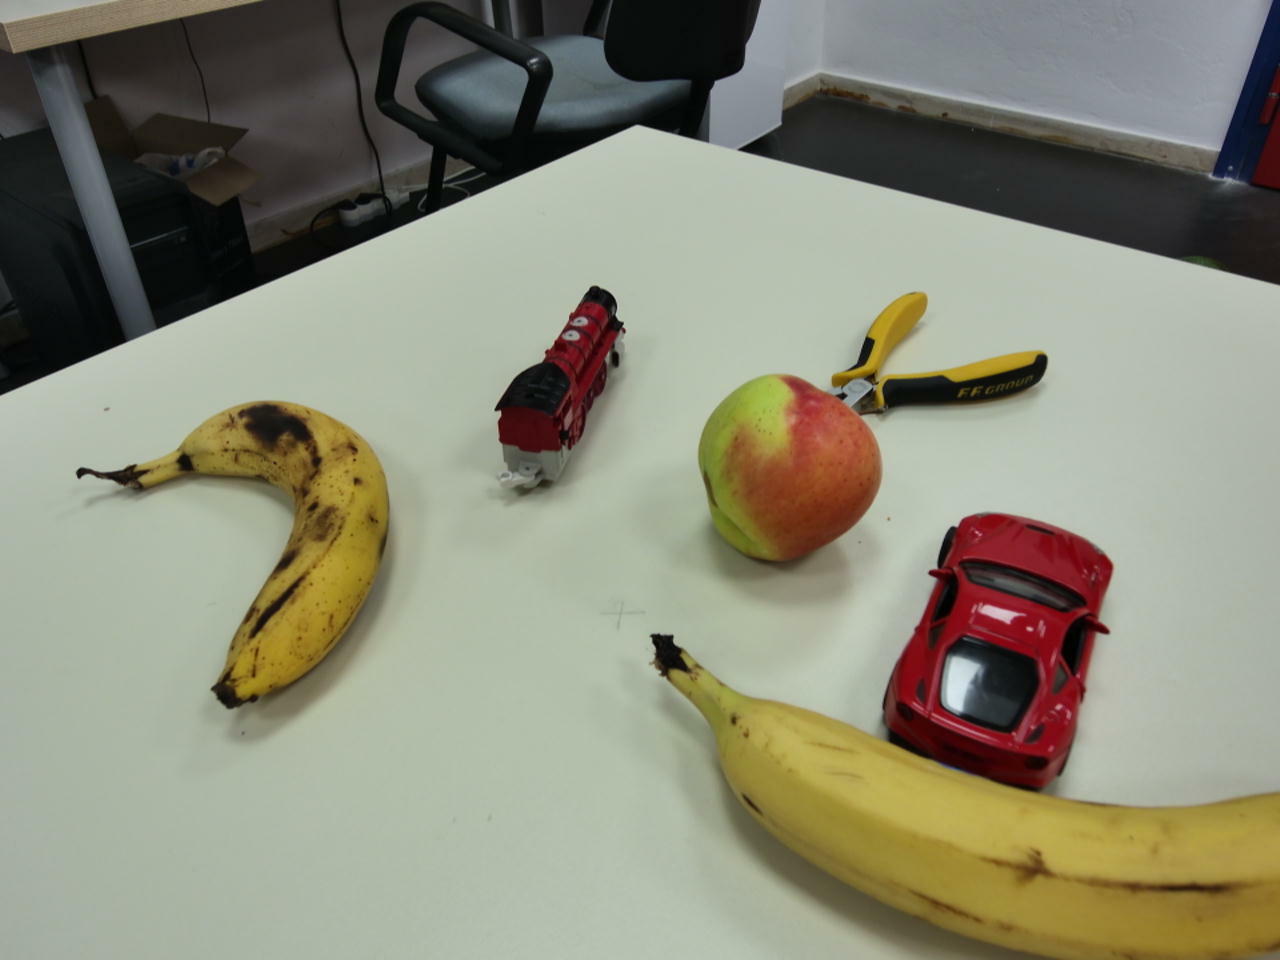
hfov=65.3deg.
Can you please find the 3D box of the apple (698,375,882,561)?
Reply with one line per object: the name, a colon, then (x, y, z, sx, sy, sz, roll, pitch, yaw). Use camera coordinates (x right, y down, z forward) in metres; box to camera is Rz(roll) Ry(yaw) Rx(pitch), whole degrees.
apple: (0.060, -0.005, 0.414, 0.075, 0.074, 0.075, 11, 37, 16)
